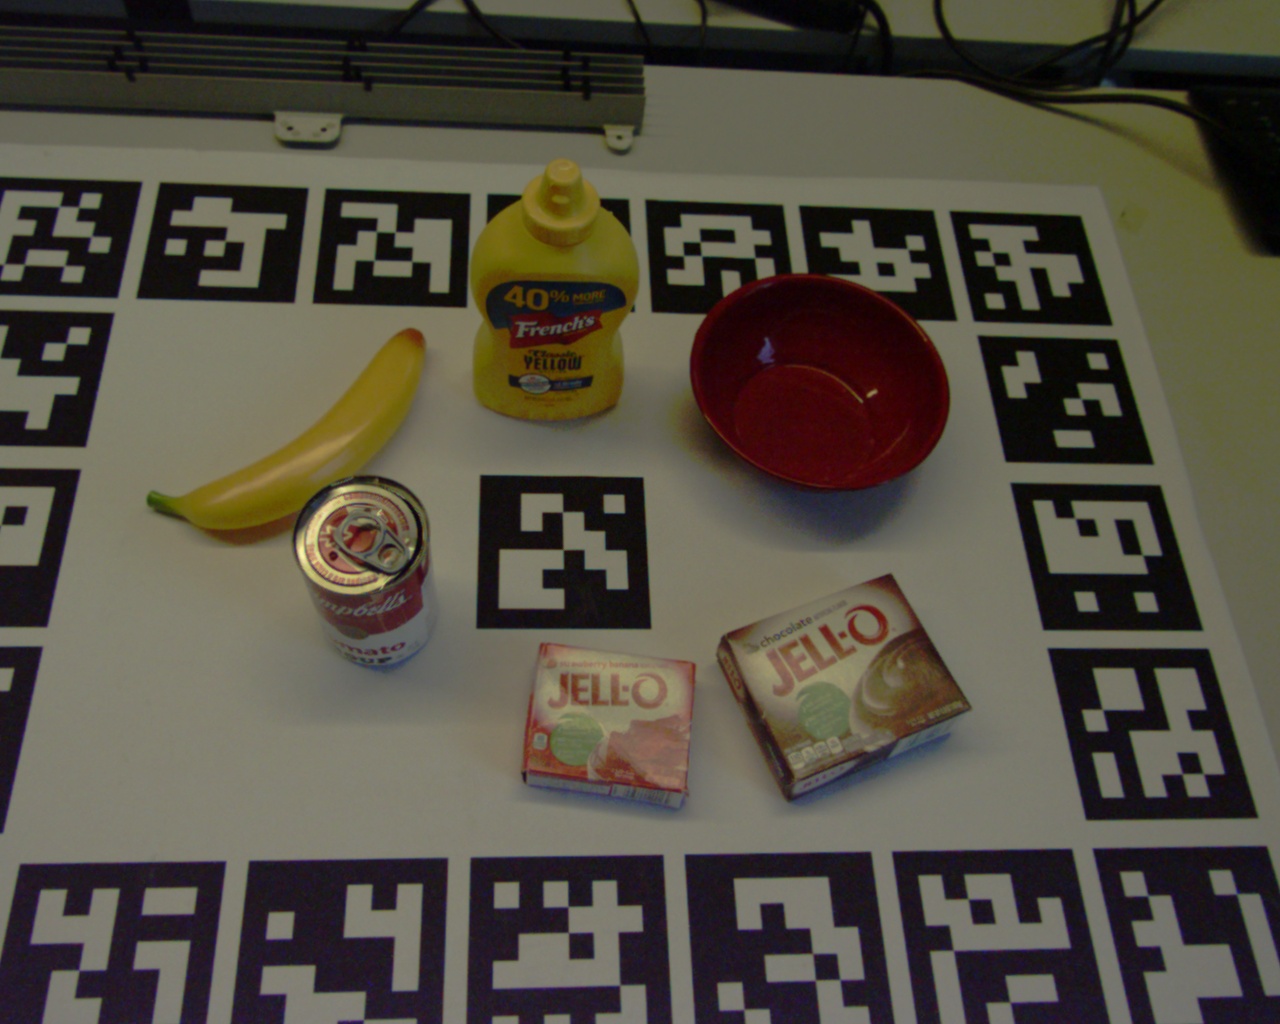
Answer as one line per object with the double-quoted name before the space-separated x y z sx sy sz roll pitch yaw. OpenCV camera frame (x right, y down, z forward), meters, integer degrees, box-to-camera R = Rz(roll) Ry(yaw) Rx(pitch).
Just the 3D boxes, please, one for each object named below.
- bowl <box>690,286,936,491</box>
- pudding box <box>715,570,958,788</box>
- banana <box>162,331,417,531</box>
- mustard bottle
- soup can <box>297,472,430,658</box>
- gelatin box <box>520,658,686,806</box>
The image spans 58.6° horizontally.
"bowl" 0.110 -0.071 0.760 0.161 0.055 0.162 1 61 -3
"pudding box" 0.114 0.098 0.674 0.113 0.039 0.090 -22 71 -17
"banana" -0.204 -0.047 0.722 0.075 0.038 0.196 33 63 23
"mustard bottle" -0.051 -0.125 0.680 0.096 0.191 0.058 0 59 -7
"soup can" -0.151 0.032 0.637 0.067 0.102 0.068 4 60 -7
"gelatin box" -0.020 0.125 0.651 0.089 0.030 0.073 6 64 -2
